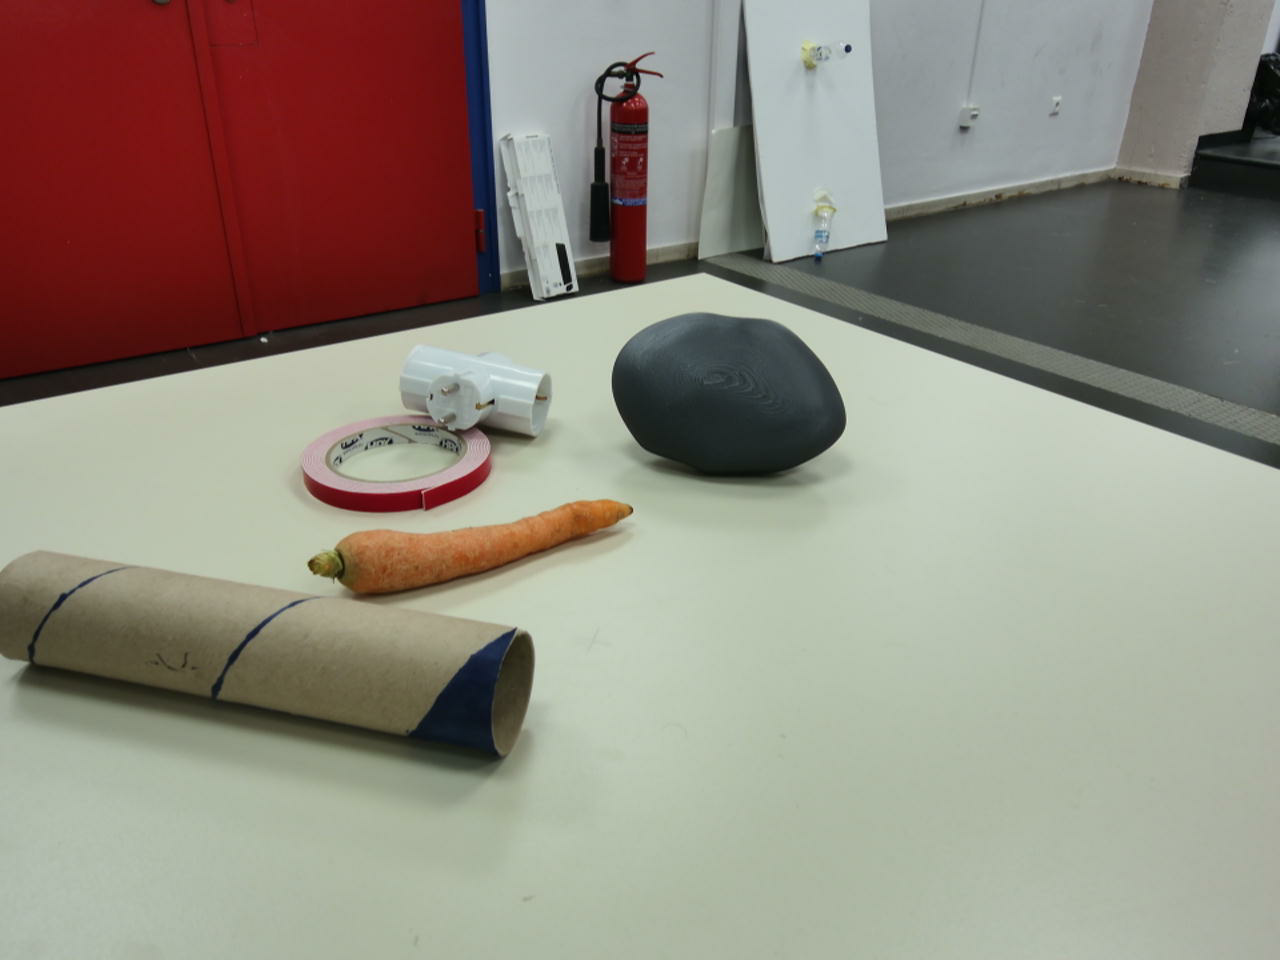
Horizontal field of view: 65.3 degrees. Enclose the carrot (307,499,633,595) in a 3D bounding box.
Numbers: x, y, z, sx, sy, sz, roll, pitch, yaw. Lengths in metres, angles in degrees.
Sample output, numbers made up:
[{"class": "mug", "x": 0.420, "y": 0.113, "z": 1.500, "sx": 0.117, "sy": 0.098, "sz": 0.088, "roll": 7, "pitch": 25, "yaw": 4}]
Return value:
[{"class": "carrot", "x": -0.076, "y": 0.028, "z": 0.496, "sx": 0.173, "sy": 0.032, "sz": 0.030, "roll": -12, "pitch": 28, "yaw": -26}]
